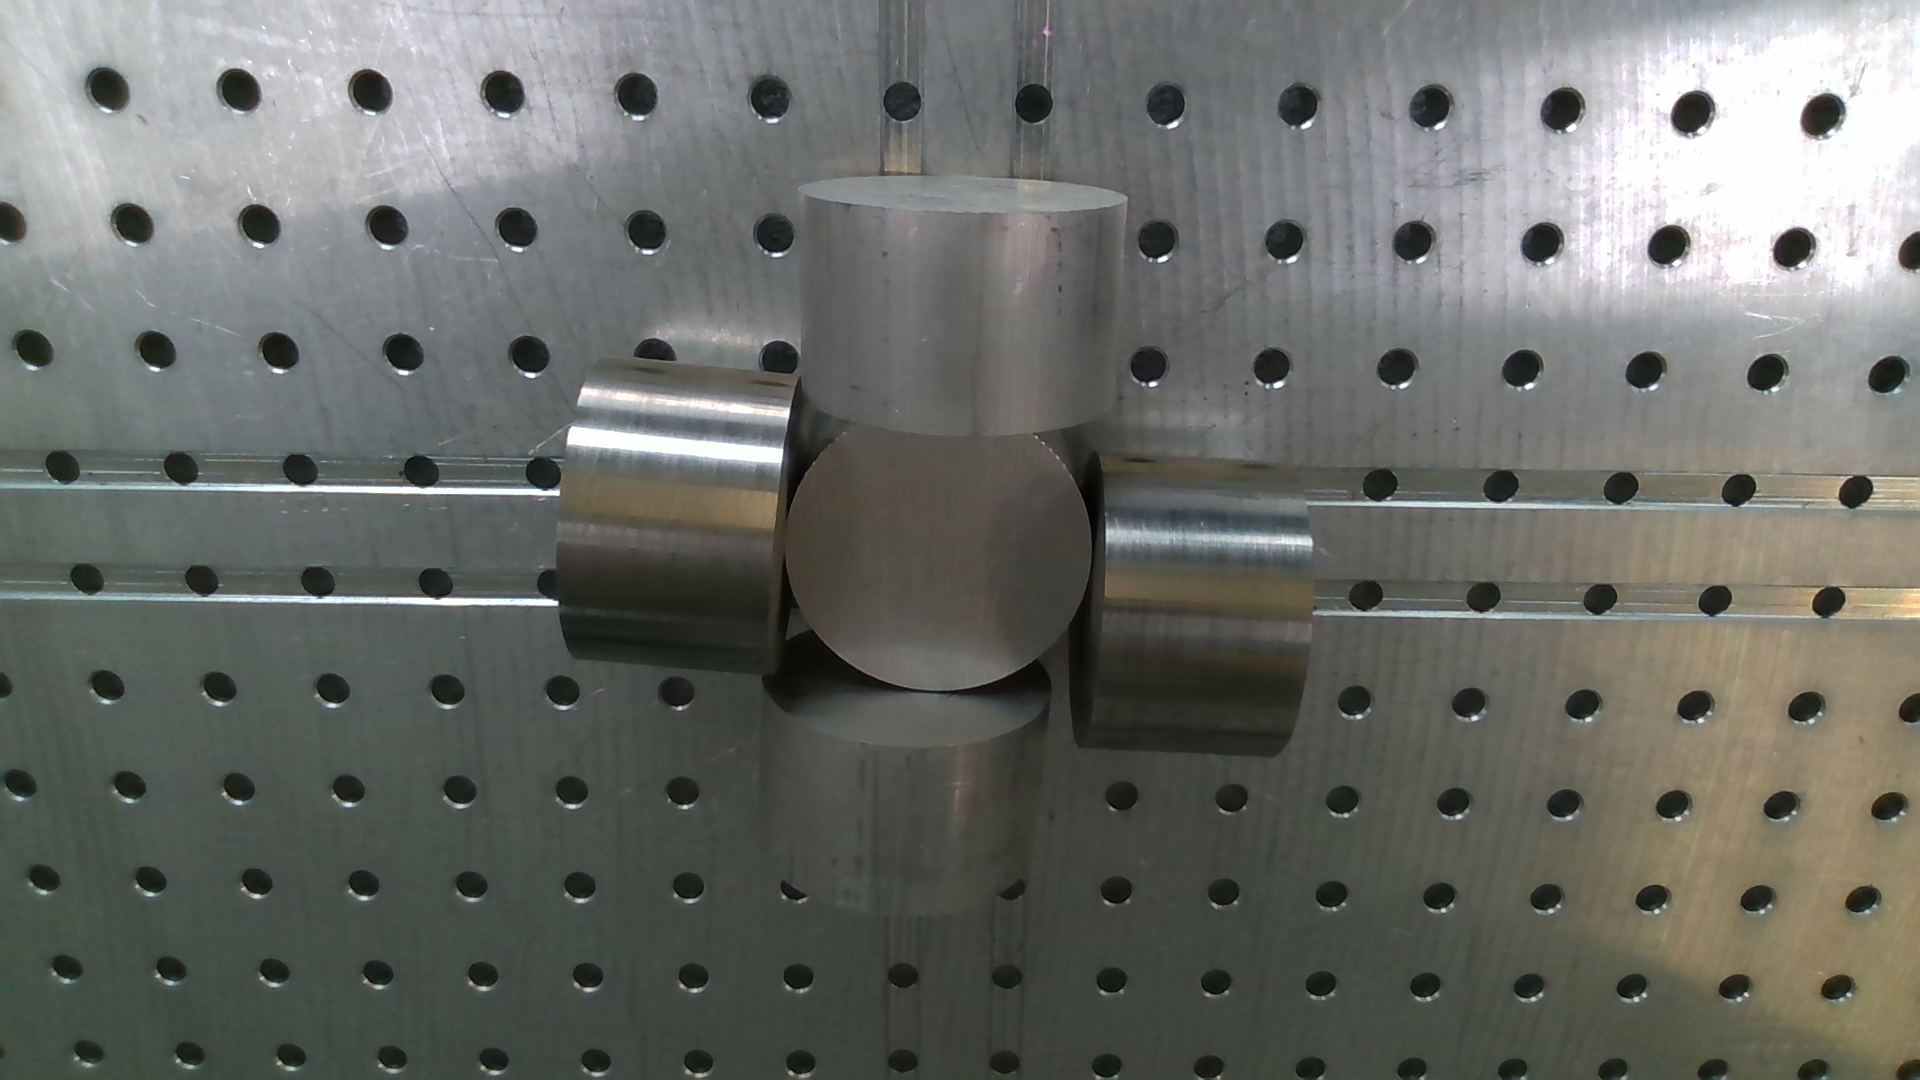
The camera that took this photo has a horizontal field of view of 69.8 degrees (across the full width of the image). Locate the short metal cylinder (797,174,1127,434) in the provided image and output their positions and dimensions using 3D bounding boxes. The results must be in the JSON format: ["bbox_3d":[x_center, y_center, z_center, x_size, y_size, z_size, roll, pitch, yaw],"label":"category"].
[{"bbox_3d":[0.000,-0.062,0.344,0.080,0.080,0.050,1,111,-1],"label":"short metal cylinder"}]

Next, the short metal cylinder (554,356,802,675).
[{"bbox_3d":[-0.071,-0.007,0.363,0.050,0.080,0.080,6,110,-2],"label":"short metal cylinder"}]

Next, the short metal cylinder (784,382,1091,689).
[{"bbox_3d":[-0.006,-0.006,0.381,0.080,0.050,0.080,0,111,0],"label":"short metal cylinder"}]

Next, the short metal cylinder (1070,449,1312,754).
[{"bbox_3d":[0.059,0.017,0.372,0.050,0.080,0.080,3,110,-1],"label":"short metal cylinder"}]

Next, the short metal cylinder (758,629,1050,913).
[{"bbox_3d":[-0.017,0.060,0.389,0.080,0.080,0.050,4,110,-1],"label":"short metal cylinder"}]
